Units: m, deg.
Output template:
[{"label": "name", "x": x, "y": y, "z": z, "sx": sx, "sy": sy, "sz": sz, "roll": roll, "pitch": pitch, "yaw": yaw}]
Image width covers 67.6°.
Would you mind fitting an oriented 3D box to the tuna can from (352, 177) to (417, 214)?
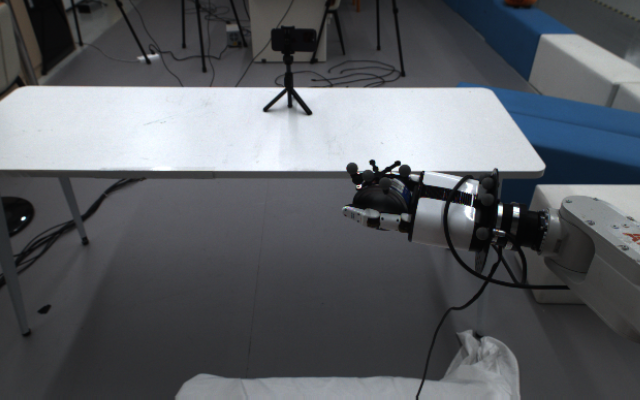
[{"label": "tuna can", "x": 0.096, "y": 0.002, "z": 0.738, "sx": 0.085, "sy": 0.085, "sz": 0.034, "roll": 14, "pitch": 41, "yaw": 16}]
